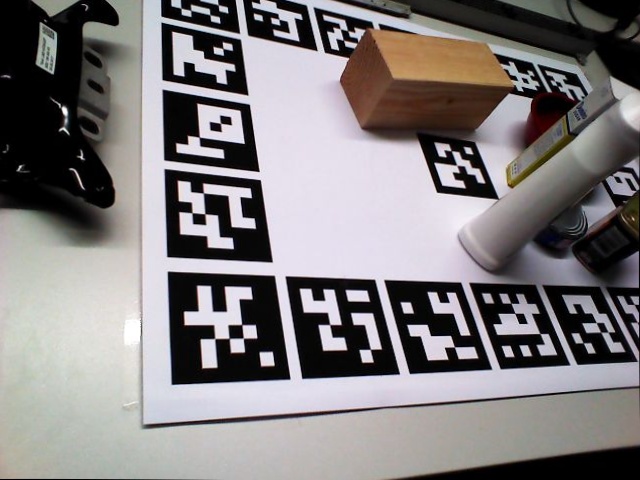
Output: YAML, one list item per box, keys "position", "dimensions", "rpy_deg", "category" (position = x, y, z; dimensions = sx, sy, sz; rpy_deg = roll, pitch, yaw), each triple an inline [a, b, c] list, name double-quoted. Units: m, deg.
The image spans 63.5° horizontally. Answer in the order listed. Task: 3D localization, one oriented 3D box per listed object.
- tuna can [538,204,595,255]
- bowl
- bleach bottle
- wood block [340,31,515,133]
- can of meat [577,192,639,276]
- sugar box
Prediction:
- position: [0.310, -0.024, 0.674]
  dimensions: [0.085, 0.034, 0.085]
  rpy_deg: [11, 58, -18]
  category: "tuna can"
- position: [0.384, -0.145, 0.778]
  dimensions: [0.161, 0.055, 0.160]
  rpy_deg: [10, 55, -15]
  category: "bowl"
- position: [0.261, -0.064, 0.542]
  dimensions: [0.102, 0.252, 0.068]
  rpy_deg: [-23, 70, -34]
  category: "bleach bottle"
- position: [0.145, -0.206, 0.689]
  dimensions: [0.205, 0.090, 0.090]
  rpy_deg: [-5, 65, -29]
  category: "wood block"
- position: [0.399, -0.007, 0.680]
  dimensions: [0.101, 0.084, 0.058]
  rpy_deg: [-28, 70, -38]
  category: "can of meat"
- position: [0.347, -0.112, 0.658]
  dimensions: [0.093, 0.177, 0.045]
  rpy_deg: [20, 55, -8]
  category: "sugar box"
